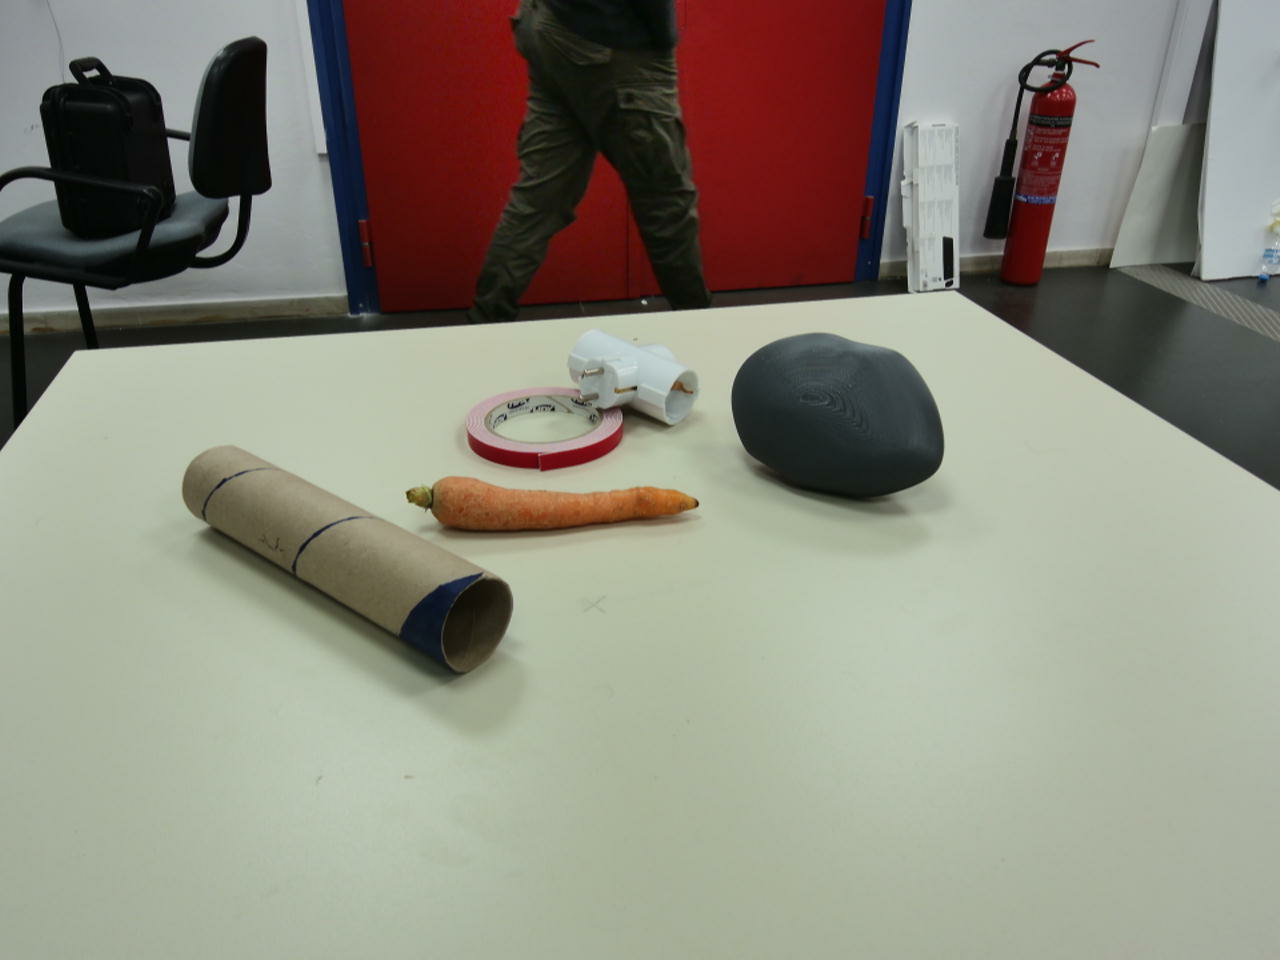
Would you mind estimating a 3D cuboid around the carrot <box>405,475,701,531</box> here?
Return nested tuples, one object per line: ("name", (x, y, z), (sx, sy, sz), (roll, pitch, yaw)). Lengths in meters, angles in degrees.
("carrot", (-0.048, 0.012, 0.582), (0.173, 0.032, 0.030), (-1, 27, -3))
